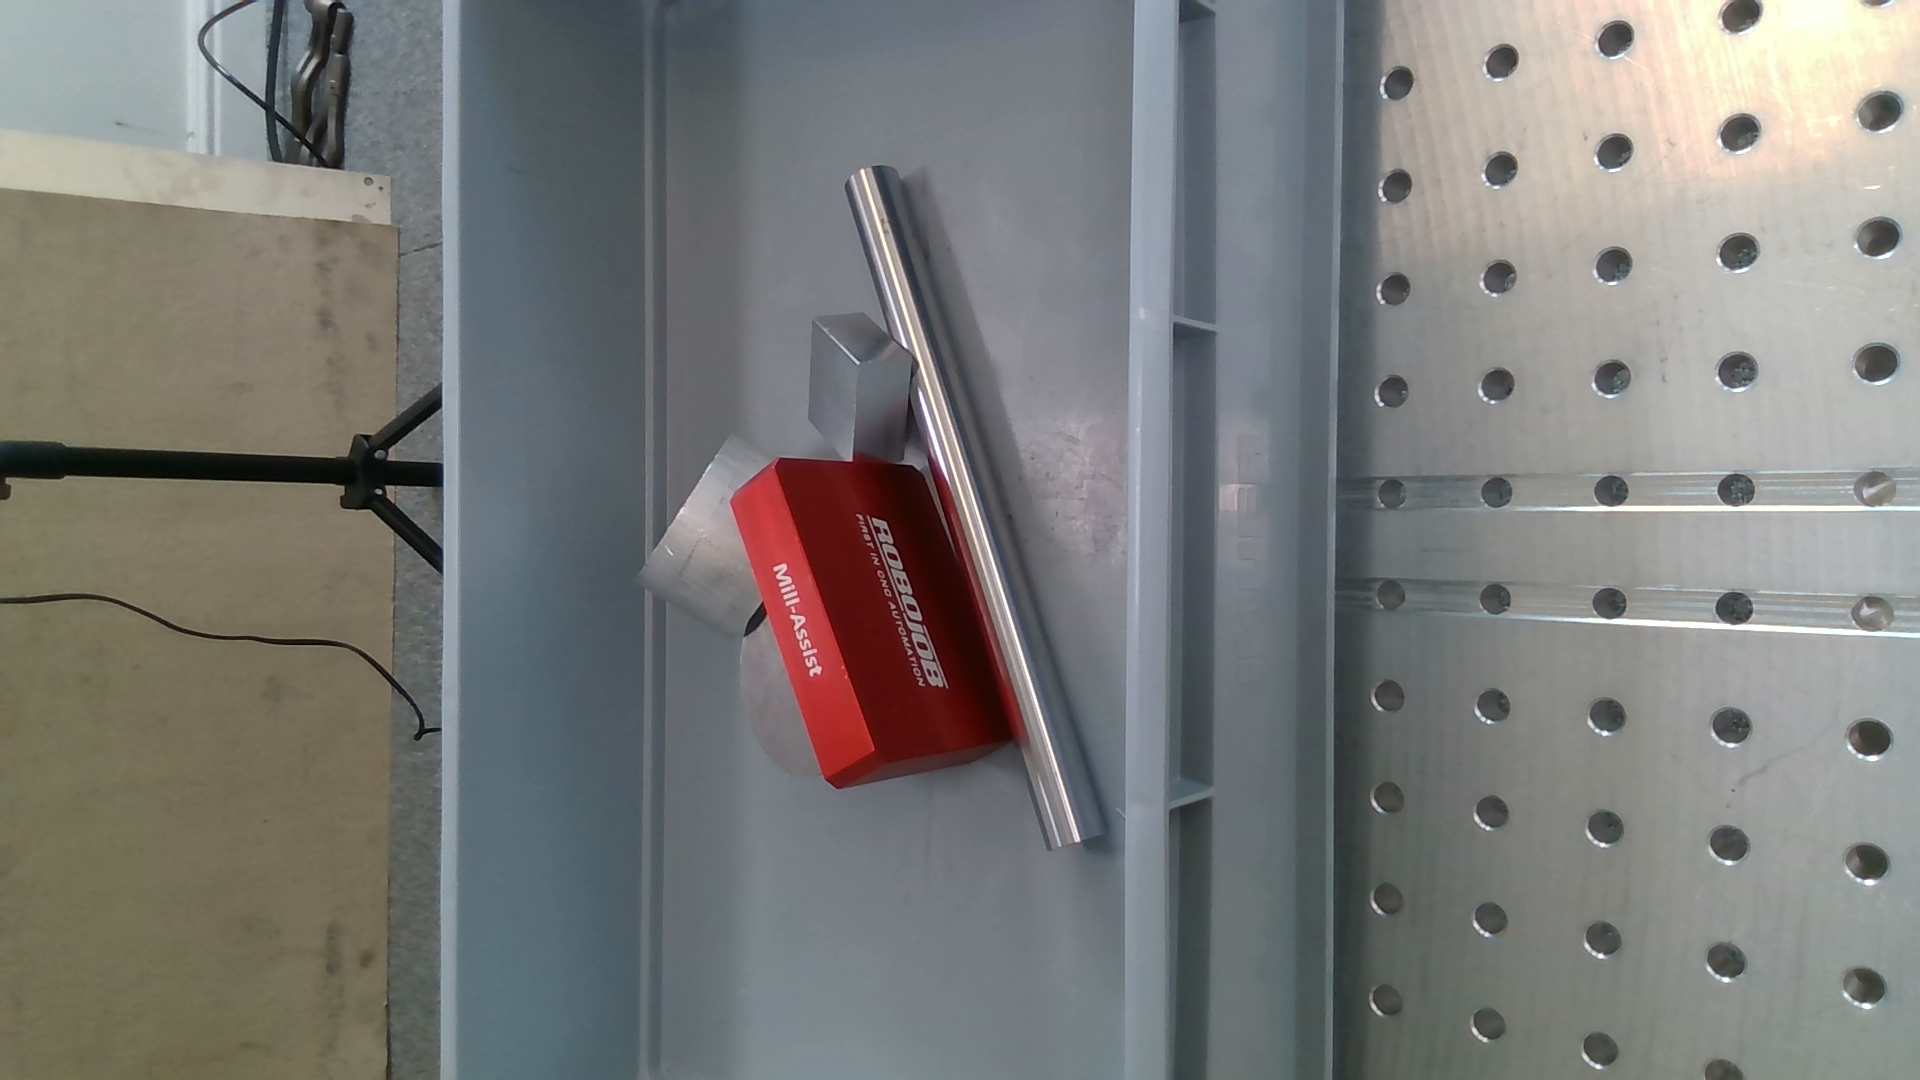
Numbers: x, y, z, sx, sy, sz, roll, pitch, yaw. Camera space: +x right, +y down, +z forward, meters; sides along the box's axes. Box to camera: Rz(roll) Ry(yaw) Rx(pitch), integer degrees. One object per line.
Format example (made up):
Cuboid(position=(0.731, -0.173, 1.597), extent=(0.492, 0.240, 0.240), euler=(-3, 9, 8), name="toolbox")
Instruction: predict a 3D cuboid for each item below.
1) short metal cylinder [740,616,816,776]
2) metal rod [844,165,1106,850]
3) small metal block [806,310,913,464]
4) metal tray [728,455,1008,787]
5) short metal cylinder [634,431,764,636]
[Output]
Cuboid(position=(-0.053, 0.059, 0.604), extent=(0.080, 0.050, 0.080), euler=(7, 100, 48), name="short metal cylinder")
Cuboid(position=(0.003, -0.021, 0.578), extent=(0.025, 0.025, 0.299), euler=(-27, 73, 37), name="metal rod")
Cuboid(position=(-0.045, -0.066, 0.601), extent=(0.050, 0.025, 0.050), euler=(47, 139, 47), name="small metal block")
Cuboid(position=(-0.035, 0.030, 0.568), extent=(0.030, 0.090, 0.130), euler=(-33, 70, 35), name="metal tray")
Cuboid(position=(-0.105, -0.002, 0.624), extent=(0.050, 0.080, 0.080), euler=(34, 119, -10), name="short metal cylinder")
